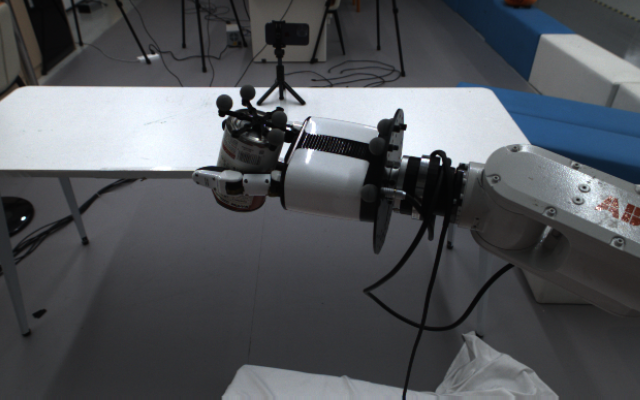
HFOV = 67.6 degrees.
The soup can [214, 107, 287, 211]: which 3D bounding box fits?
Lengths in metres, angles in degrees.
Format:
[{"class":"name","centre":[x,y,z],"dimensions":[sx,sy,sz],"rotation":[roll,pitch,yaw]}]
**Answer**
[{"class":"soup can","centre":[-0.083,-0.044,0.559],"dimensions":[0.067,0.101,0.067],"rotation":[14,40,-12]}]
